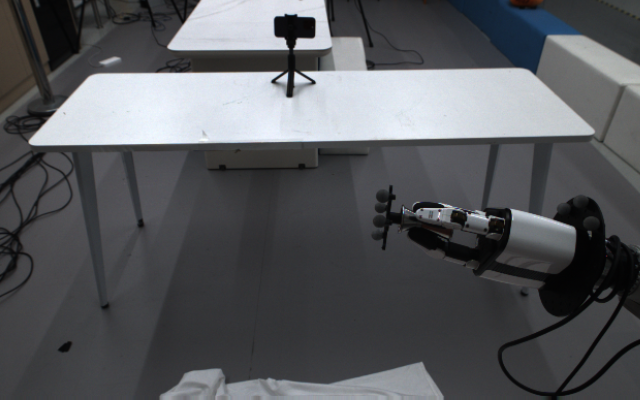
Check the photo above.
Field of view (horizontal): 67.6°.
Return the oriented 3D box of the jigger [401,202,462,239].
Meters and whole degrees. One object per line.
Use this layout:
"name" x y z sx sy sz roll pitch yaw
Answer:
"jigger" 0.148 0.025 0.651 0.071 0.043 0.043 6 35 4
